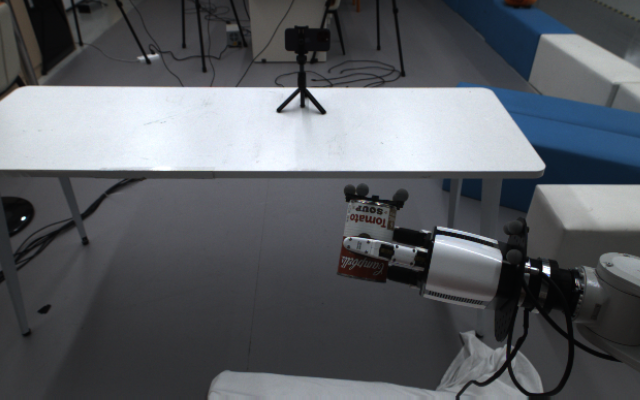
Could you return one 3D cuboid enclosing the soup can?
[{"bbox_3d":[0.065,0.054,0.651,0.067,0.101,0.067,9,-5,1],"label":"soup can"}]
